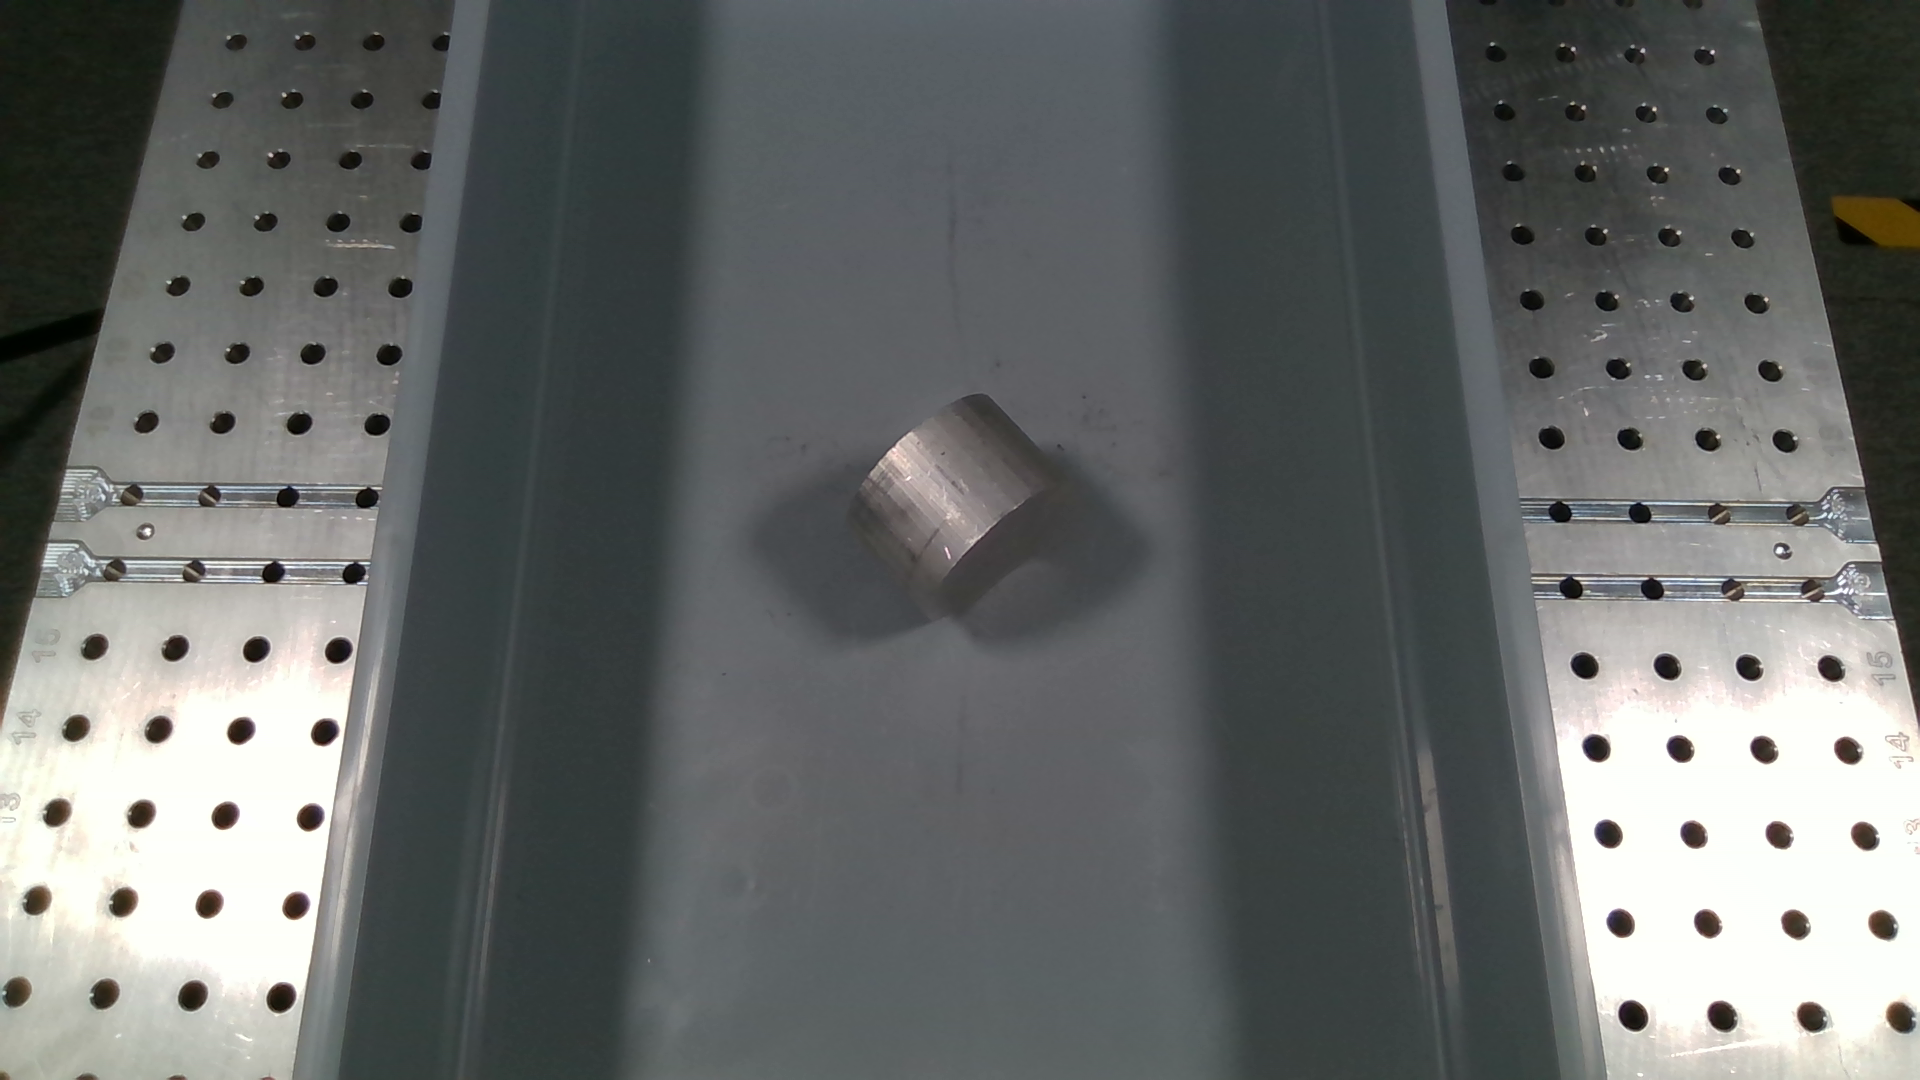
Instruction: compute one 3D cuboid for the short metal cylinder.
[{"bbox_3d":[0.000,-0.013,0.561,0.080,0.080,0.050,-40,75,-13],"label":"short metal cylinder"}]
